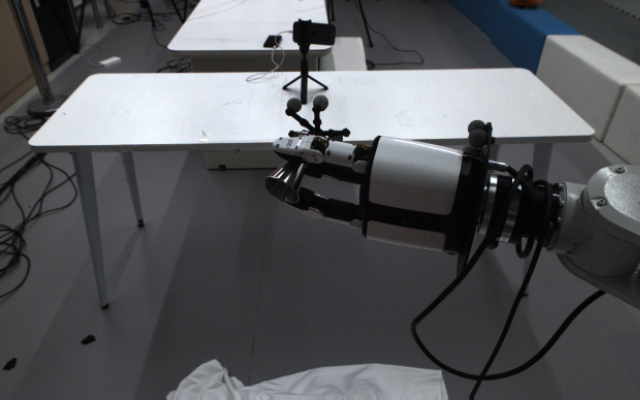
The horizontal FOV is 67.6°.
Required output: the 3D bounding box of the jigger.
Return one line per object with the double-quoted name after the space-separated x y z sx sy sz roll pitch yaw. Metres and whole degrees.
-0.026 -0.039 0.522 0.043 0.043 0.071 19 61 23 "jigger"
